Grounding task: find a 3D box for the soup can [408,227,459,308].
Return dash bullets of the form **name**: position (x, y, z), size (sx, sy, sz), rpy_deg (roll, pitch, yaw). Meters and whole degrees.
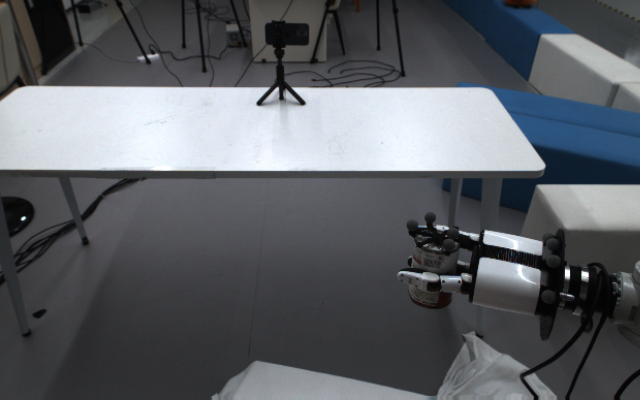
- **soup can**: position (0.174, 0.104, 0.733), size (0.067, 0.101, 0.067), rpy_deg (1, 25, 0)
